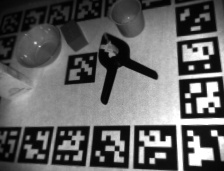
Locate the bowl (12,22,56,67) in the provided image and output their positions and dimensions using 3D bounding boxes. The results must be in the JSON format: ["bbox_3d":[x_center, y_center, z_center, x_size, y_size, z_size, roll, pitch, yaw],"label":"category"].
[{"bbox_3d":[-0.244,-0.126,0.708,0.160,0.056,0.161,-6,70,17],"label":"bowl"}]

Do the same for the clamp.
[{"bbox_3d":[-0.007,-0.072,0.611,0.165,0.037,0.201,-27,66,11],"label":"clamp"}]

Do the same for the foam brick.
[{"bbox_3d":[-0.130,-0.157,0.688,0.052,0.052,0.077,-30,66,9],"label":"foam brick"}]

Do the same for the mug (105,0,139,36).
[{"bbox_3d":[0.023,-0.201,0.624,0.116,0.082,0.093,23,81,22],"label":"mug"}]

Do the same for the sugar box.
[{"bbox_3d":[-0.339,-0.013,0.635,0.092,0.178,0.045,-28,66,8],"label":"sugar box"}]
